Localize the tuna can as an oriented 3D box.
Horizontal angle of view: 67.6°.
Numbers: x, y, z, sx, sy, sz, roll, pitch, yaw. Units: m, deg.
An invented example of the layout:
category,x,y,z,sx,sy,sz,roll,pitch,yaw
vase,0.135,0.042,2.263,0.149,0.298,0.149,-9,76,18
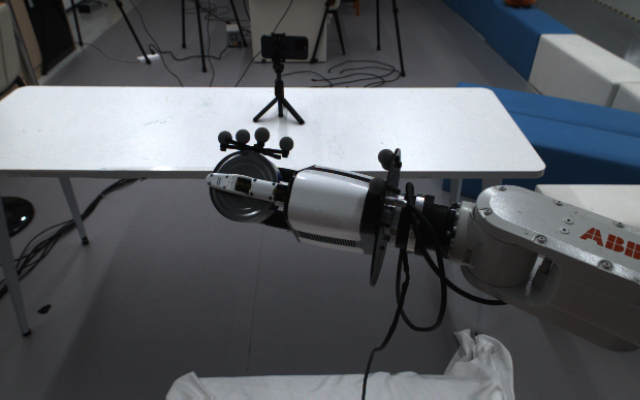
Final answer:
category,x,y,z,sx,sy,sz,roll,pitch,yaw
tuna can,-0.086,-0.015,0.586,0.085,0.085,0.034,11,-5,13
